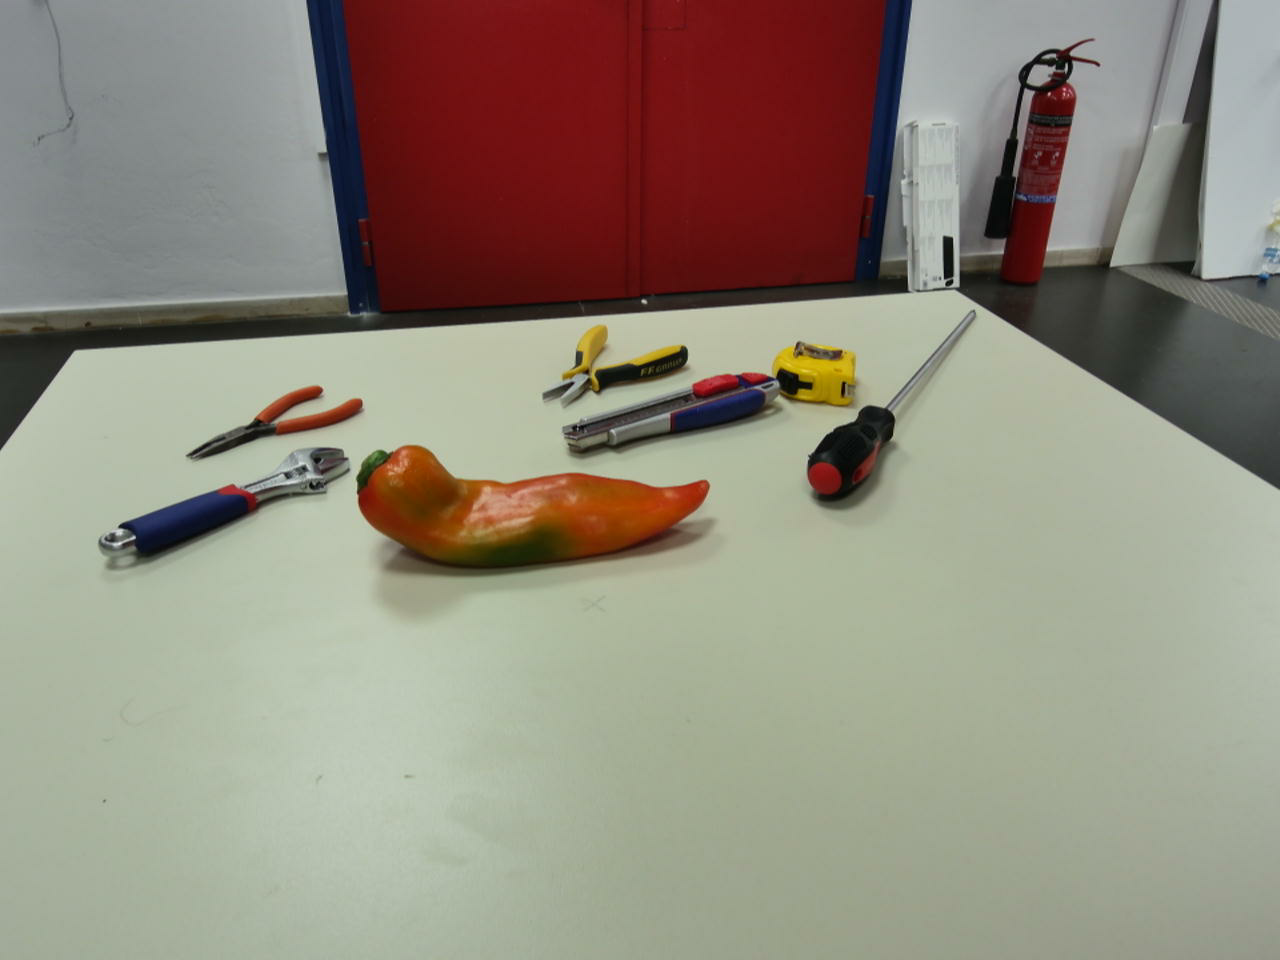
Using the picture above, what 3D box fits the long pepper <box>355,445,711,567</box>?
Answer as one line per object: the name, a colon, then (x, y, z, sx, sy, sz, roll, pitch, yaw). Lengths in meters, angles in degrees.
long pepper: (-0.058, 0.008, 0.563, 0.199, 0.065, 0.066, -3, 27, -7)
